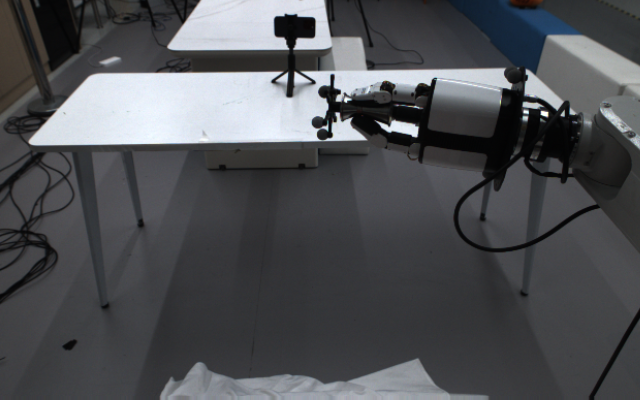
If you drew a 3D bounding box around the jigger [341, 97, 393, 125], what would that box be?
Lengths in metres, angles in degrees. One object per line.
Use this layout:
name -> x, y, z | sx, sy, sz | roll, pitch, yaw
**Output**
jigger -> 0.072, -0.130, 0.670 | 0.071, 0.043, 0.043 | 6, 35, 11
